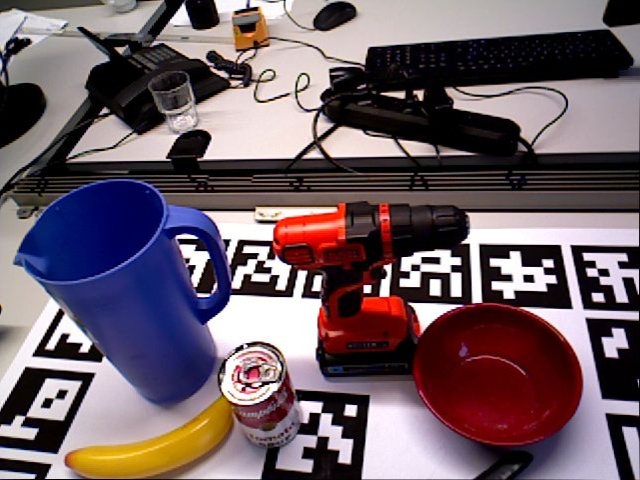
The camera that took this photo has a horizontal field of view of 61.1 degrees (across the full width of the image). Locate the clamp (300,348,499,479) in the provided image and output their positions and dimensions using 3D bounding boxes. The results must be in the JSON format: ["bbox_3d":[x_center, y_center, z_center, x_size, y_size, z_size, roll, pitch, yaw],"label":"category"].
[{"bbox_3d":[0.082,0.172,0.520,0.203,0.037,0.162,-3,51,9],"label":"clamp"}]

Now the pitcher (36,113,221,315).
[{"bbox_3d":[-0.196,-0.019,0.626,0.187,0.247,0.132,-18,43,-6],"label":"pitcher"}]

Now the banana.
[{"bbox_3d":[-0.197,0.135,0.628,0.195,0.039,0.073,-19,38,-8],"label":"banana"}]

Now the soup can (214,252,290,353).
[{"bbox_3d":[-0.074,0.073,0.613,0.068,0.104,0.067,-7,38,4],"label":"soup can"}]

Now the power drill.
[{"bbox_3d":[0.043,-0.044,0.608,0.184,0.190,0.056,-4,46,7],"label":"power drill"}]

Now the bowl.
[{"bbox_3d":[0.155,0.054,0.609,0.161,0.056,0.159,-7,48,7],"label":"bowl"}]
